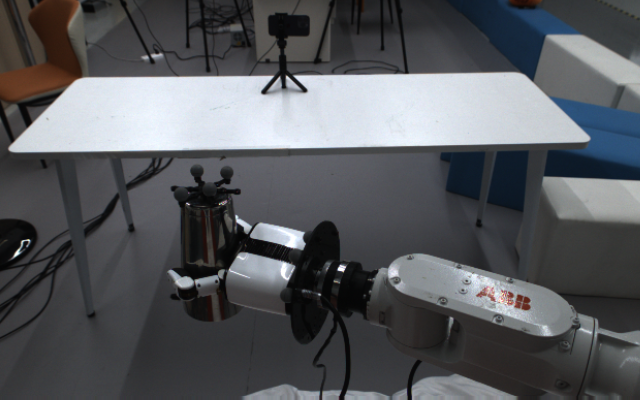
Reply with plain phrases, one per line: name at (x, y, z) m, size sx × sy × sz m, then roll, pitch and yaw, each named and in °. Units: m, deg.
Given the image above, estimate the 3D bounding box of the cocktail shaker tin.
cocktail shaker tin at (-0.147, 0.070, 0.661) m, size 0.093 × 0.170 × 0.093 m, roll 2°, pitch 28°, yaw -1°
